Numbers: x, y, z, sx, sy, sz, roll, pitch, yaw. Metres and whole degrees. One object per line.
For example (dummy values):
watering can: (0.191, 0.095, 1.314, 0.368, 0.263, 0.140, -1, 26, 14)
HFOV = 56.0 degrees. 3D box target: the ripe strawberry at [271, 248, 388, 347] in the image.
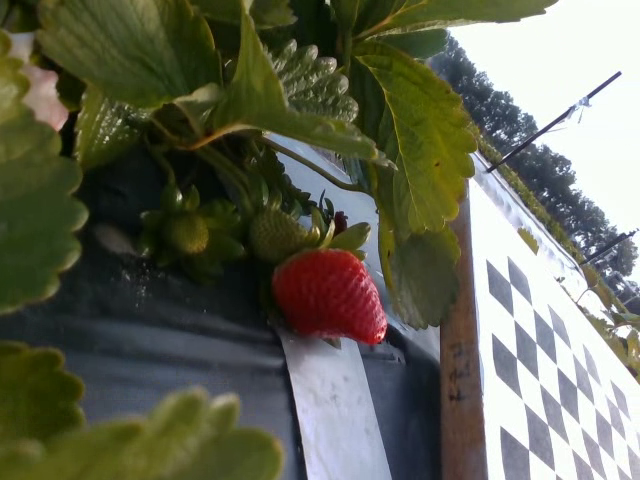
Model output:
ripe strawberry: (0.010, 0.022, 0.205, 0.035, 0.055, 0.050, -34, -52, 14)
